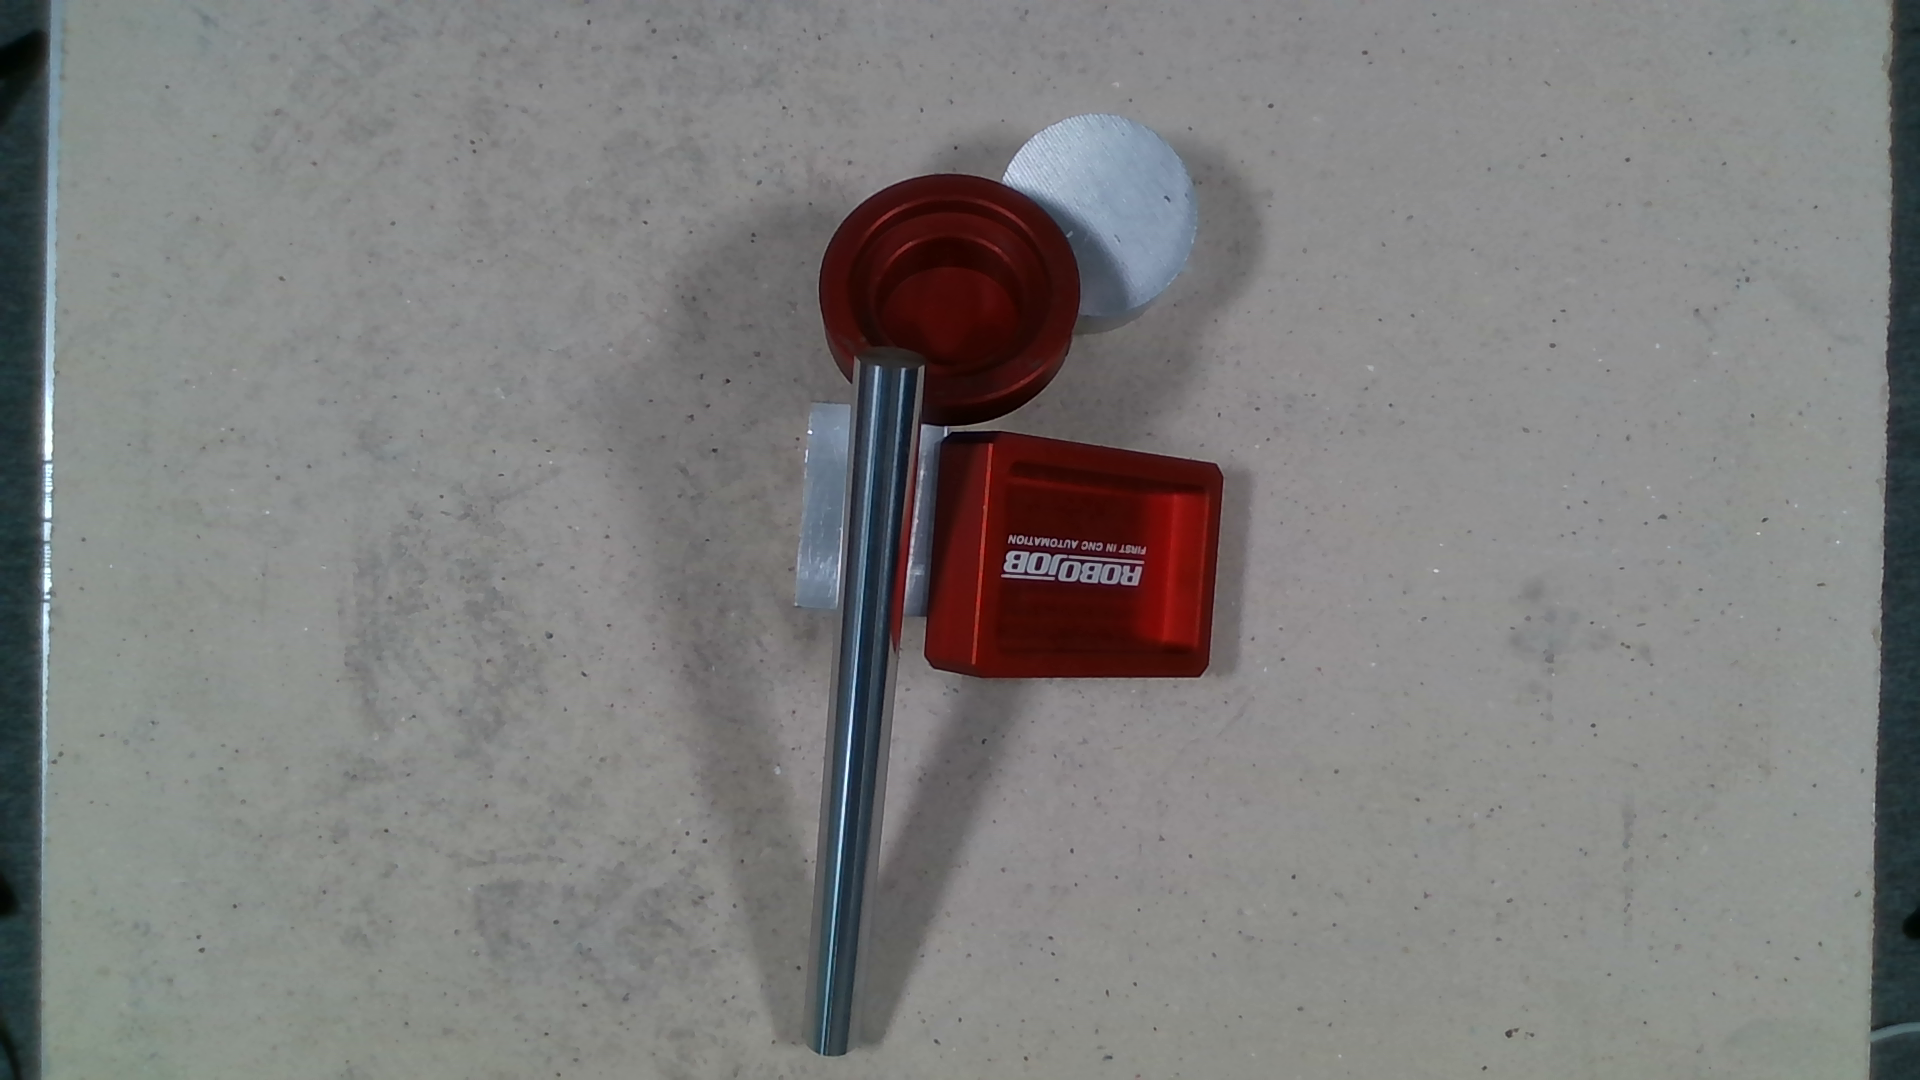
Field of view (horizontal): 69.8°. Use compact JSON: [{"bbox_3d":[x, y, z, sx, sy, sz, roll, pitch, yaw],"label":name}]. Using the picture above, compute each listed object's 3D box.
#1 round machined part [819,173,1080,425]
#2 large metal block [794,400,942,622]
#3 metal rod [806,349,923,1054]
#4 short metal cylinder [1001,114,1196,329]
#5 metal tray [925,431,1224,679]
[{"bbox_3d":[-0.004,-0.089,0.534,0.098,0.042,0.098,0,70,-1],"label":"round machined part"},{"bbox_3d":[-0.035,-0.011,0.559,0.050,0.080,0.080,5,90,0],"label":"large metal block"},{"bbox_3d":[-0.039,0.075,0.529,0.025,0.025,0.301,6,114,0],"label":"metal rod"},{"bbox_3d":[0.054,-0.130,0.574,0.080,0.050,0.080,0,90,0],"label":"short metal cylinder"},{"bbox_3d":[0.049,0.008,0.547,0.130,0.030,0.090,4,90,-40],"label":"metal tray"}]
